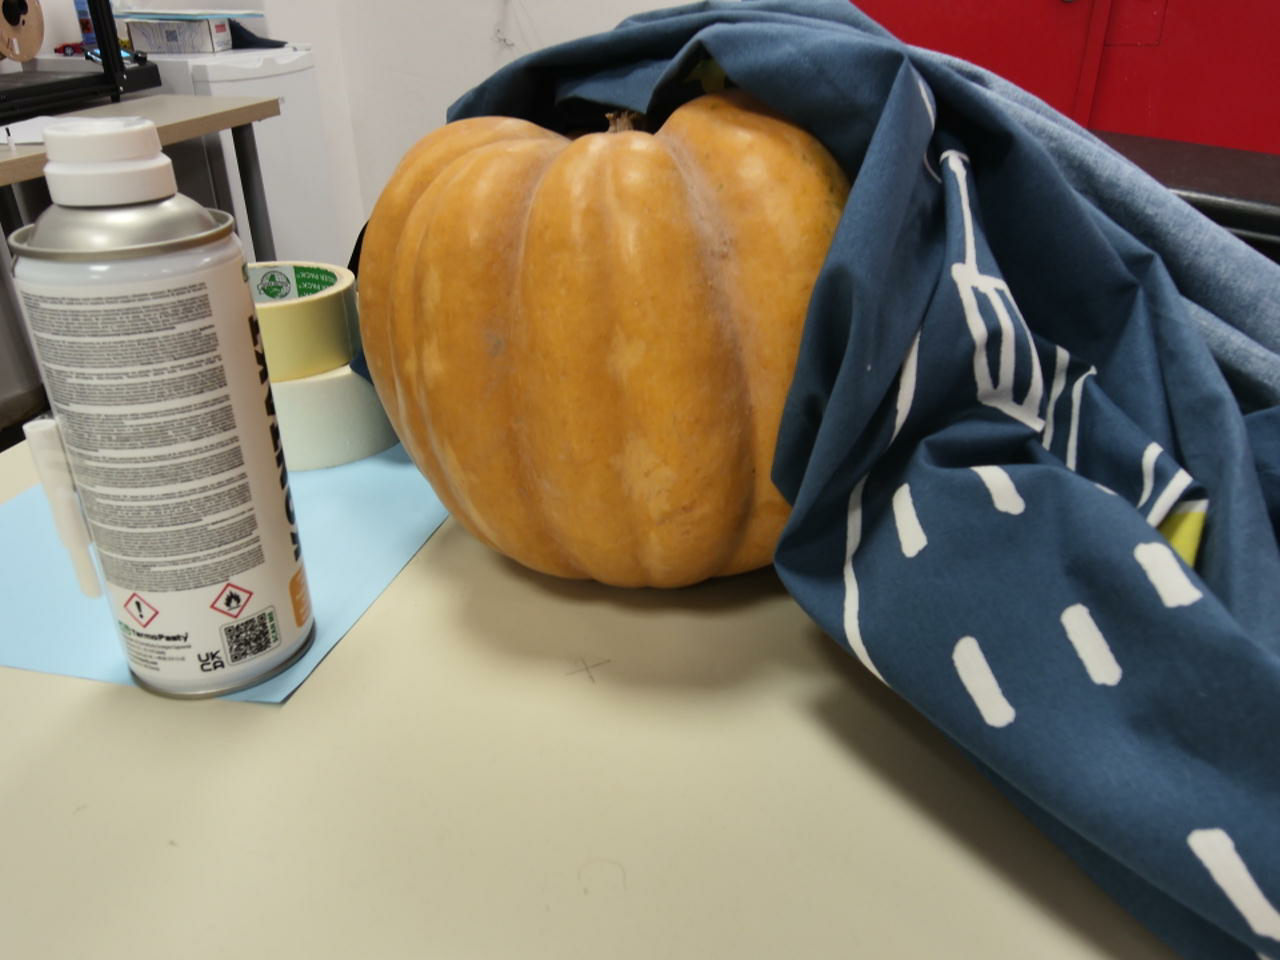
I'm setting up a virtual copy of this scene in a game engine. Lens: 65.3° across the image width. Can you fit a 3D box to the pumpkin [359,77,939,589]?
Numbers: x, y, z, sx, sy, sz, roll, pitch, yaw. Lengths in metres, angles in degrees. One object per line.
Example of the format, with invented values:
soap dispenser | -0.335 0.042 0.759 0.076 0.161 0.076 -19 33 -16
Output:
pumpkin | 0.006 -0.060 0.409 0.230 0.194 0.230 0 24 0
